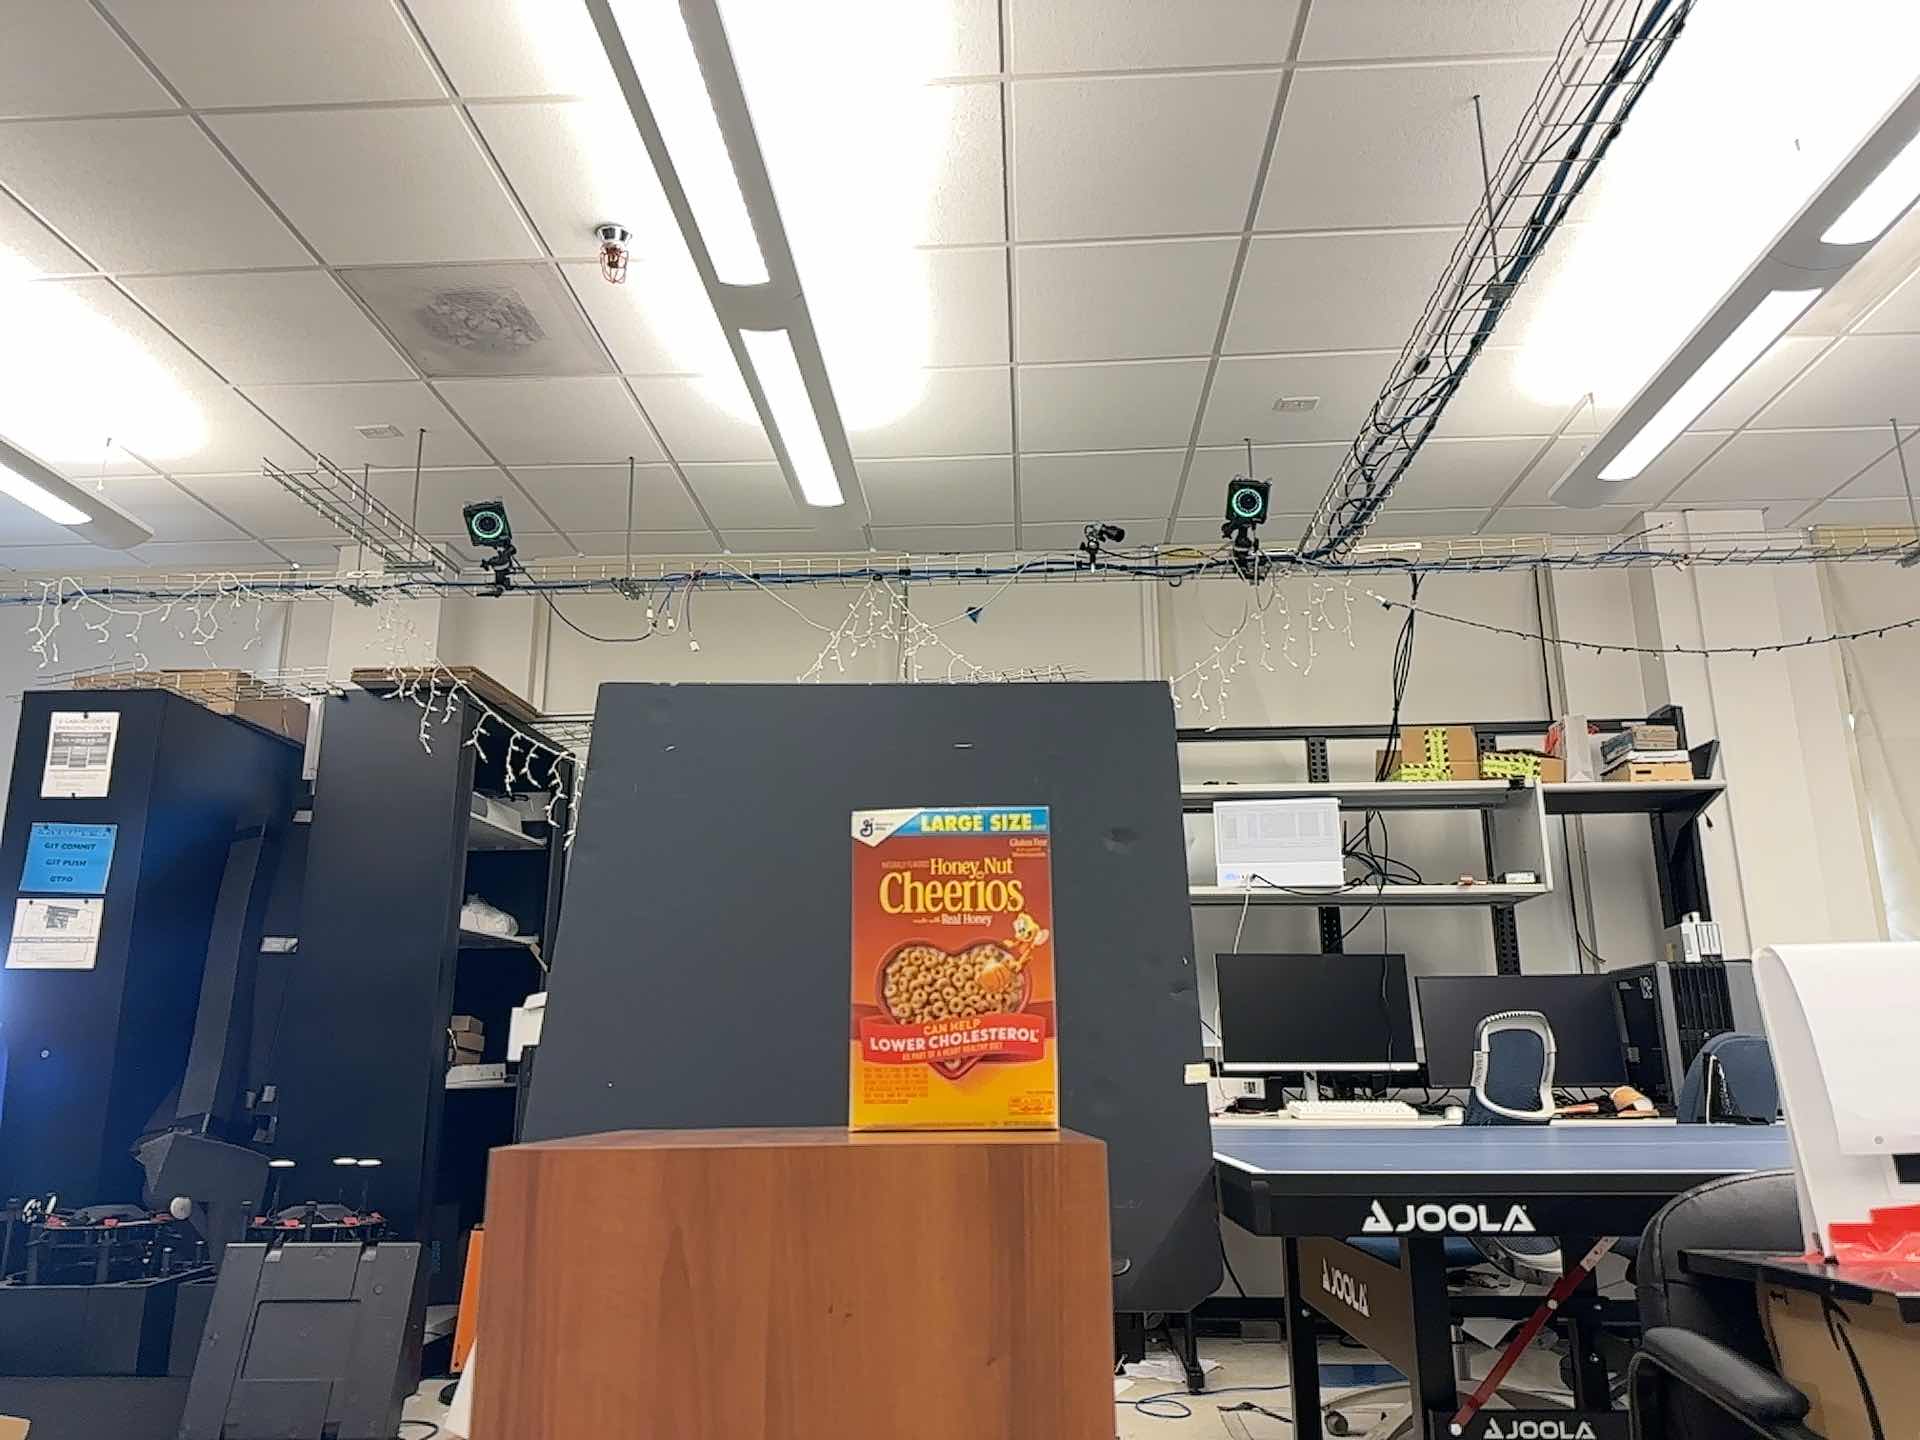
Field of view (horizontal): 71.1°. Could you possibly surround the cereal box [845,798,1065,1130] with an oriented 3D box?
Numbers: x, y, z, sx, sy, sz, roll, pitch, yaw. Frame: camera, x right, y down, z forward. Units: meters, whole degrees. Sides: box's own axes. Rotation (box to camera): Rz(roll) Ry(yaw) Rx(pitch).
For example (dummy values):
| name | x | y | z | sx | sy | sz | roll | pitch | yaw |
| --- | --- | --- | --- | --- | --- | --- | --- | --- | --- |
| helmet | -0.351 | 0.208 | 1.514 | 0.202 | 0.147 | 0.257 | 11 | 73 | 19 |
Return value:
| name | x | y | z | sx | sy | sz | roll | pitch | yaw |
| --- | --- | --- | --- | --- | --- | --- | --- | --- | --- |
| cereal box | -0.006 | 0.233 | 1.295 | 0.195 | 0.297 | 0.065 | -3 | -12 | 9 |
